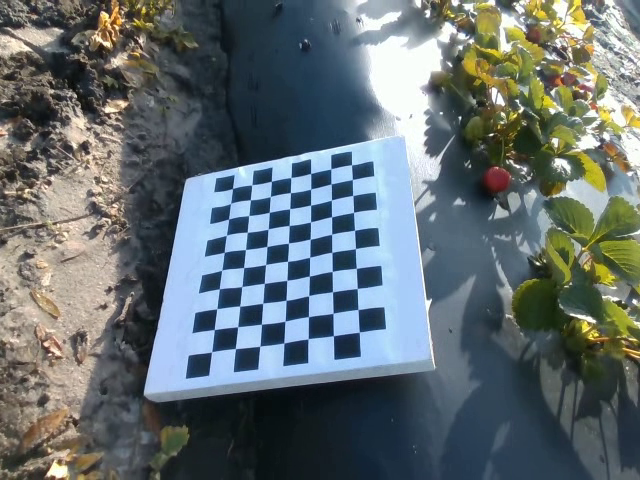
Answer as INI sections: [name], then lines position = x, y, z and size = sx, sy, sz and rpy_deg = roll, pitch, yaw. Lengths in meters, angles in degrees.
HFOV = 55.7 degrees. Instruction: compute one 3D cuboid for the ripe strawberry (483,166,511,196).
[ripe strawberry]
position = 0.192, -0.063, 0.660
size = 0.030, 0.033, 0.044
rpy_deg = 13, 27, 32
